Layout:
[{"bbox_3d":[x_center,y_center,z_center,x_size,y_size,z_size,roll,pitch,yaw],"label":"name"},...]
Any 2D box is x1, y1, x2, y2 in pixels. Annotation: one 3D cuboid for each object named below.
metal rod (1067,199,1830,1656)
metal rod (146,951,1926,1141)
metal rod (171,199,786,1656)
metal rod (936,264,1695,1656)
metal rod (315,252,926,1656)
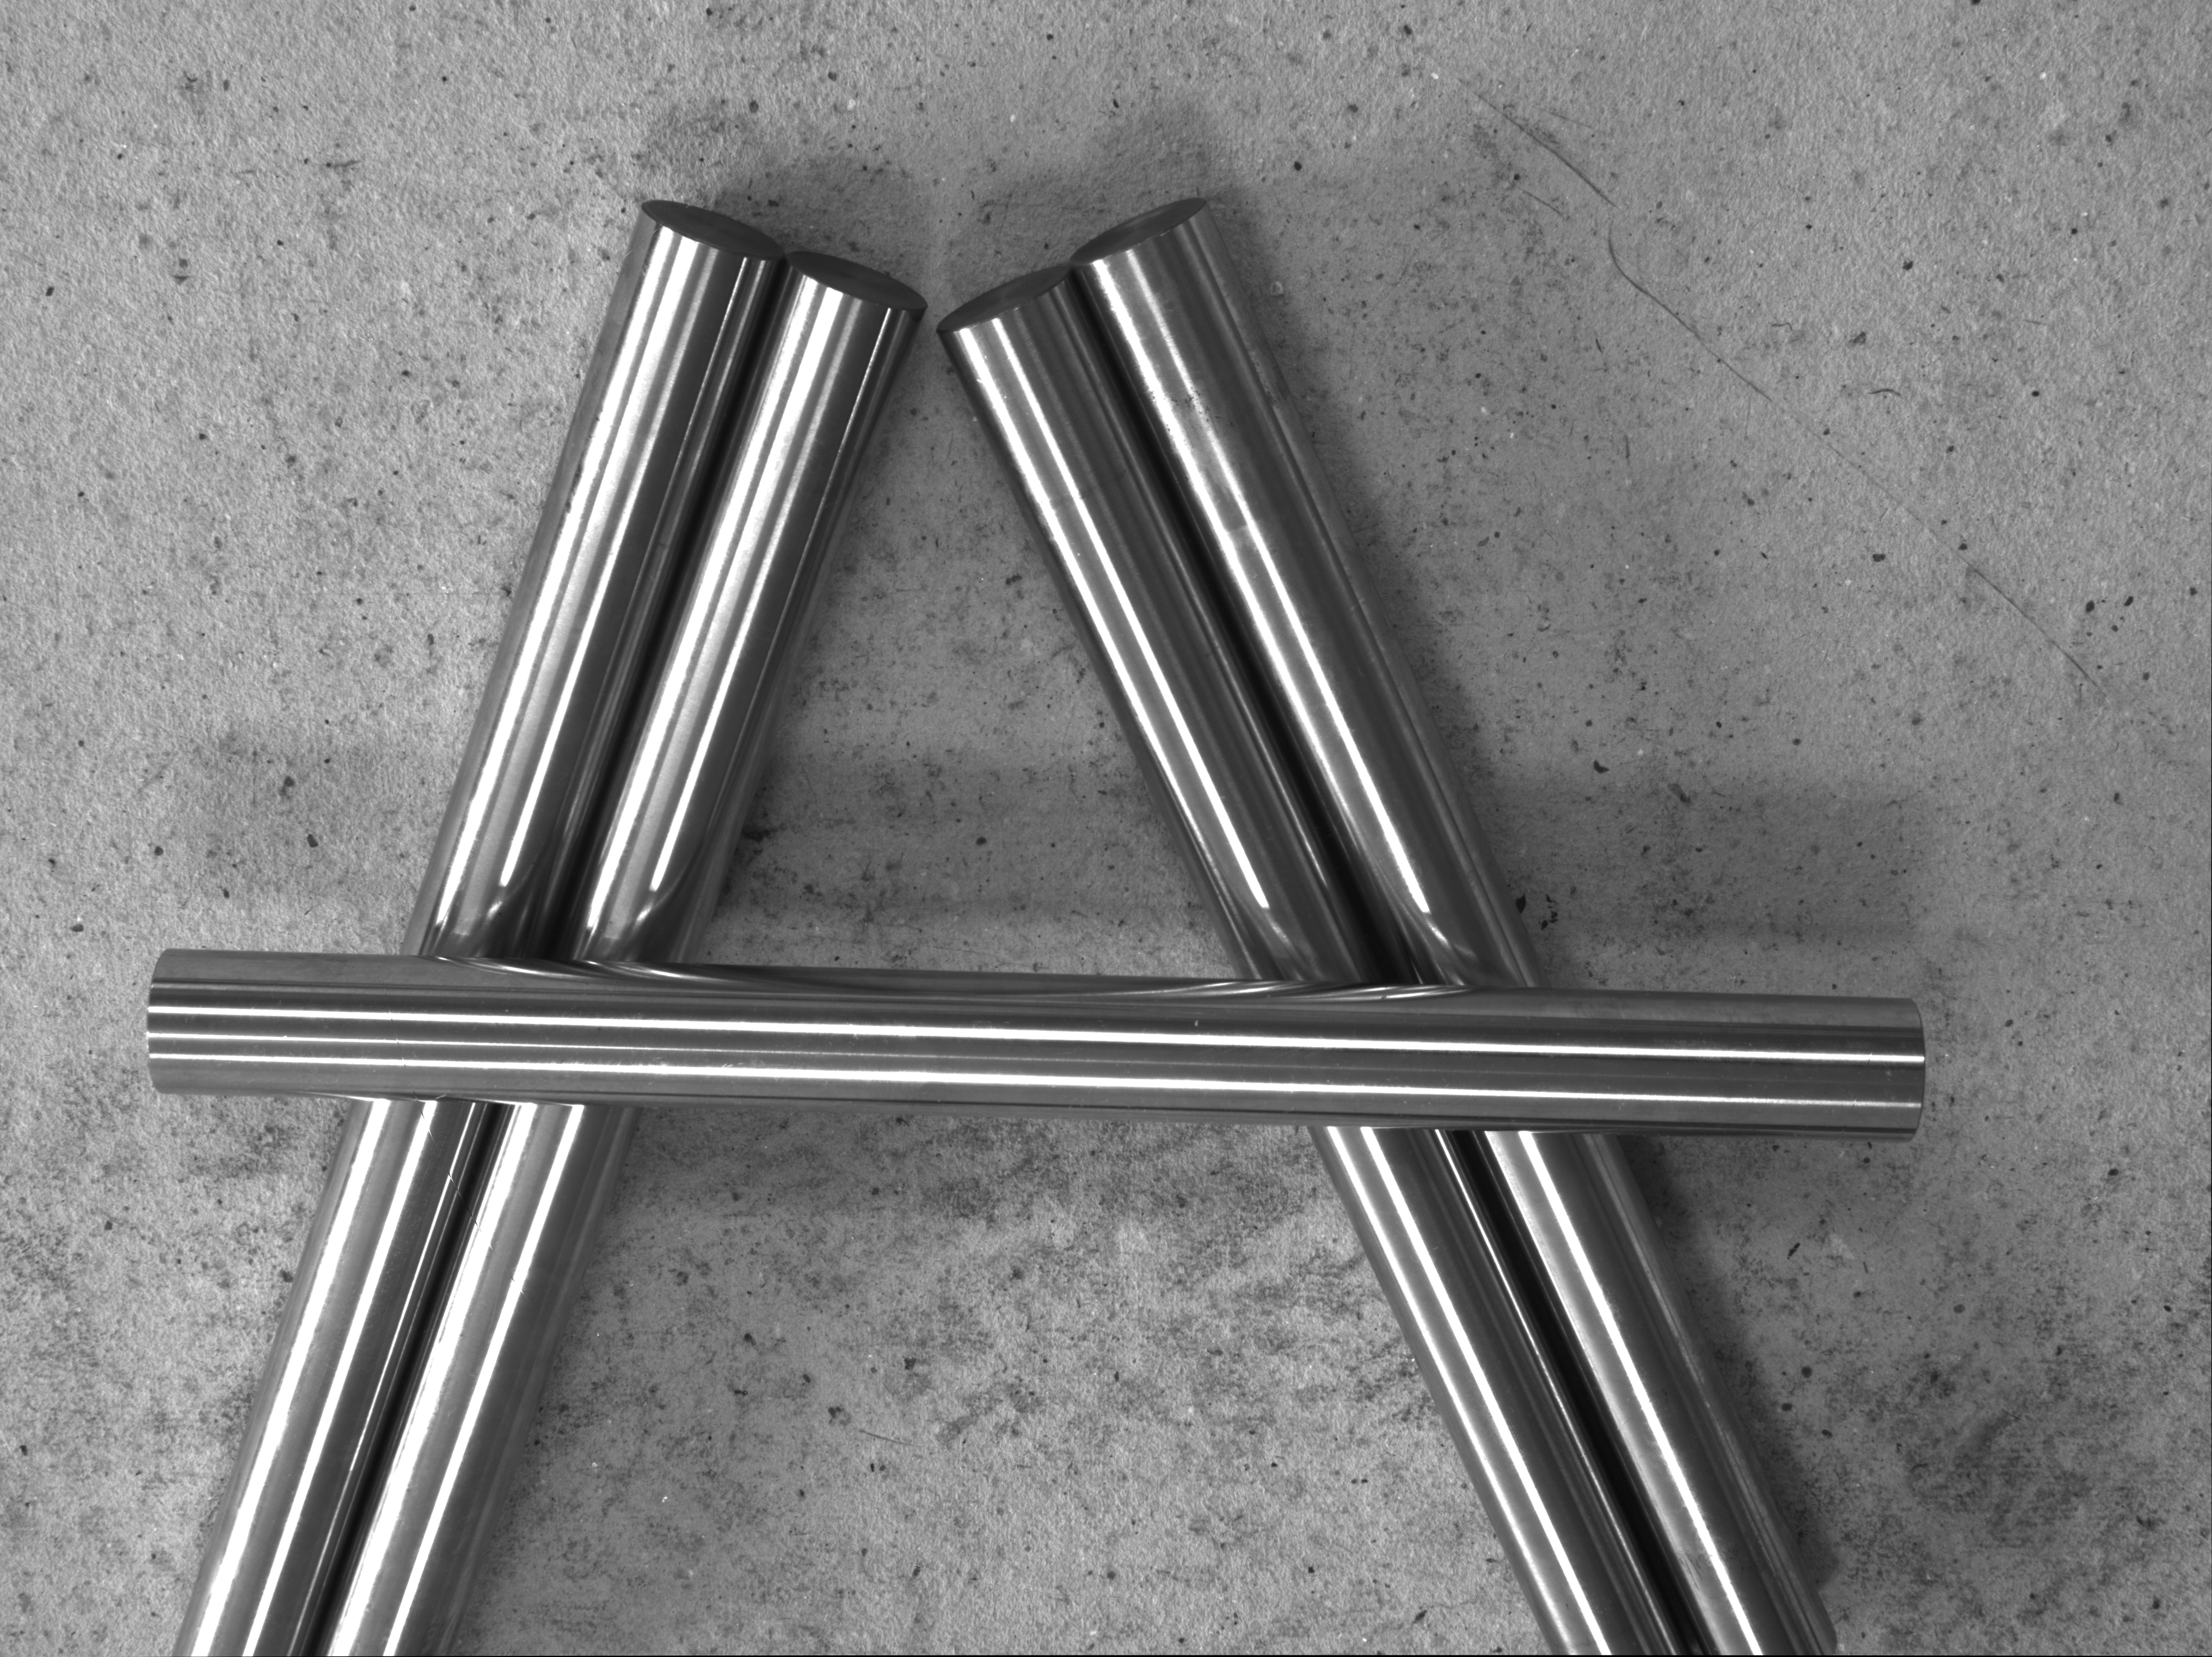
[{"bbox_3d":[0.066,0.030,0.655,0.025,0.025,0.300,-23,108,8],"label":"metal rod"},{"bbox_3d":[-0.011,0.037,0.630,0.300,0.025,0.025,2,110,-1],"label":"metal rod"},{"bbox_3d":[-0.117,0.033,0.655,0.025,0.025,0.300,19,109,-7],"label":"metal rod"},{"bbox_3d":[0.044,0.040,0.659,0.025,0.025,0.300,-23,108,8],"label":"metal rod"},{"bbox_3d":[-0.093,0.041,0.658,0.025,0.025,0.300,19,109,-7],"label":"metal rod"}]
